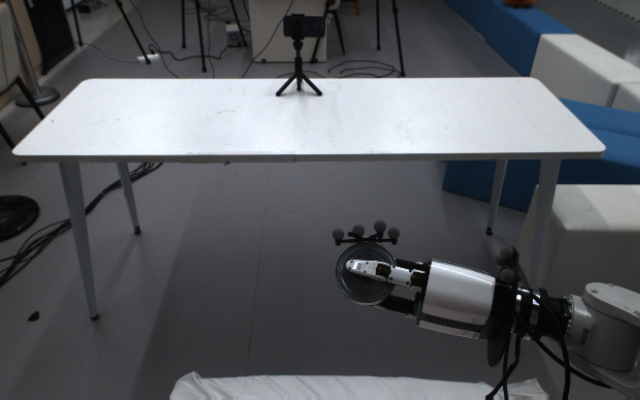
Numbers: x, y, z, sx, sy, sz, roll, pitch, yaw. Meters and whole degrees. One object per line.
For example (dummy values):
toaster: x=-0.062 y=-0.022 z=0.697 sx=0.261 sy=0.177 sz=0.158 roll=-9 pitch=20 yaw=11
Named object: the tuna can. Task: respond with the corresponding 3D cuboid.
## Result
tuna can: x=0.066 y=0.102 z=0.675 sx=0.085 sy=0.034 sz=0.085 roll=-3 pitch=66 yaw=7
